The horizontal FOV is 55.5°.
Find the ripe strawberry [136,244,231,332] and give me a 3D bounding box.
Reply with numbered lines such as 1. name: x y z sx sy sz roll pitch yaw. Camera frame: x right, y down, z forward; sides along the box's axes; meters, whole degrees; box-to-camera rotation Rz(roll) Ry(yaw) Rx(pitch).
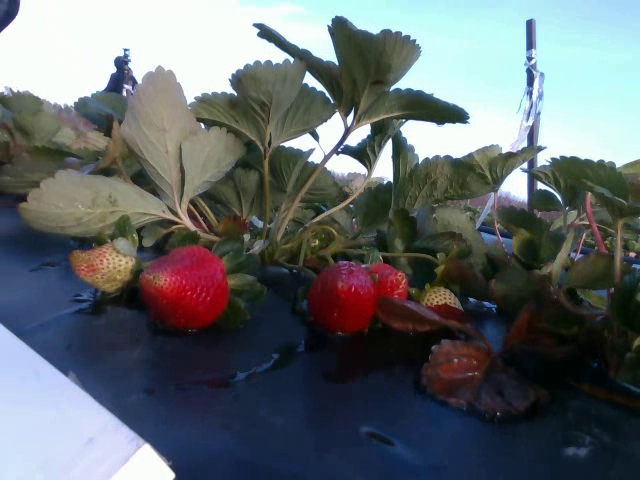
1. ripe strawberry: -0.075 0.020 0.309 0.050 0.050 0.065 -16 -19 12

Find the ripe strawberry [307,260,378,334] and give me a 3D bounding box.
1. ripe strawberry: 0.010 0.030 0.319 0.044 0.042 0.055 -29 -15 -7
